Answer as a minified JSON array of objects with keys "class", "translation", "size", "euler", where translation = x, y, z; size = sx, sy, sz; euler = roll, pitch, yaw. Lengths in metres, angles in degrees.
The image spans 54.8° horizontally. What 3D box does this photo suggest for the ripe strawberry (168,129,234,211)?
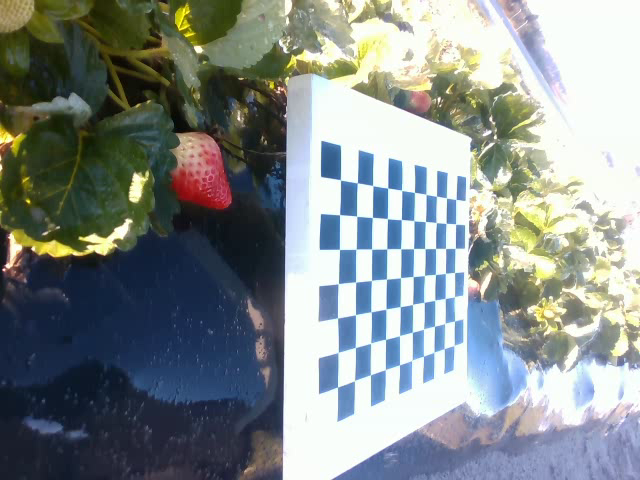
[{"class":"ripe strawberry","translation":[-0.072,-0.037,0.377],"size":[0.040,0.040,0.065],"euler":[-2,-42,33]}]
